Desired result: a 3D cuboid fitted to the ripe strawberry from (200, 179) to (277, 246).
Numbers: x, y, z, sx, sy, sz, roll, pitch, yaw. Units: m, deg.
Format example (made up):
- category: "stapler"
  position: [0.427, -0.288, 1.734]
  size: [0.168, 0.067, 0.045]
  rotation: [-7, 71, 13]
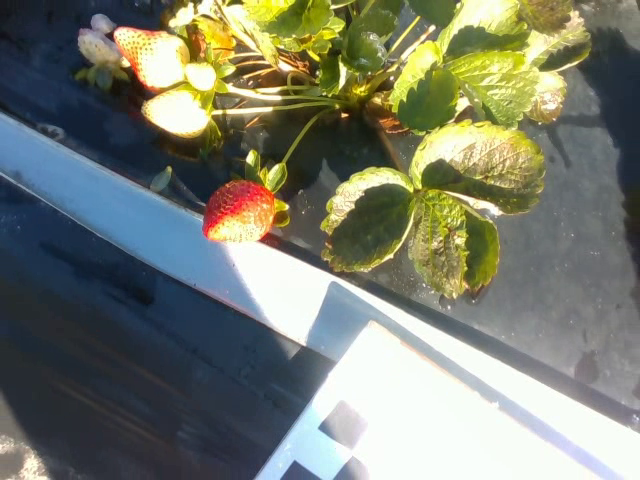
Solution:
- category: "ripe strawberry"
  position: [-0.040, -0.010, 0.261]
  size: [0.036, 0.038, 0.045]
  rotation: [35, 28, 9]
